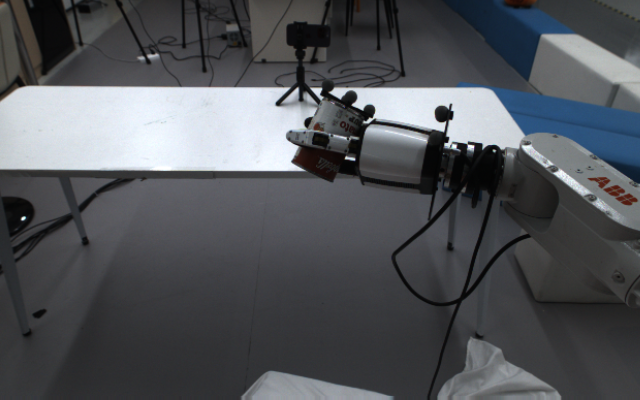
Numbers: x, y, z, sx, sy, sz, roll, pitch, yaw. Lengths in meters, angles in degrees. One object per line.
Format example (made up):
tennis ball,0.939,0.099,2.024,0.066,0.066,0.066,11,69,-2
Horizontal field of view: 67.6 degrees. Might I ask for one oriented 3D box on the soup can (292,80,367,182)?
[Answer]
soup can,0.012,-0.085,0.683,0.067,0.101,0.067,26,6,-3
